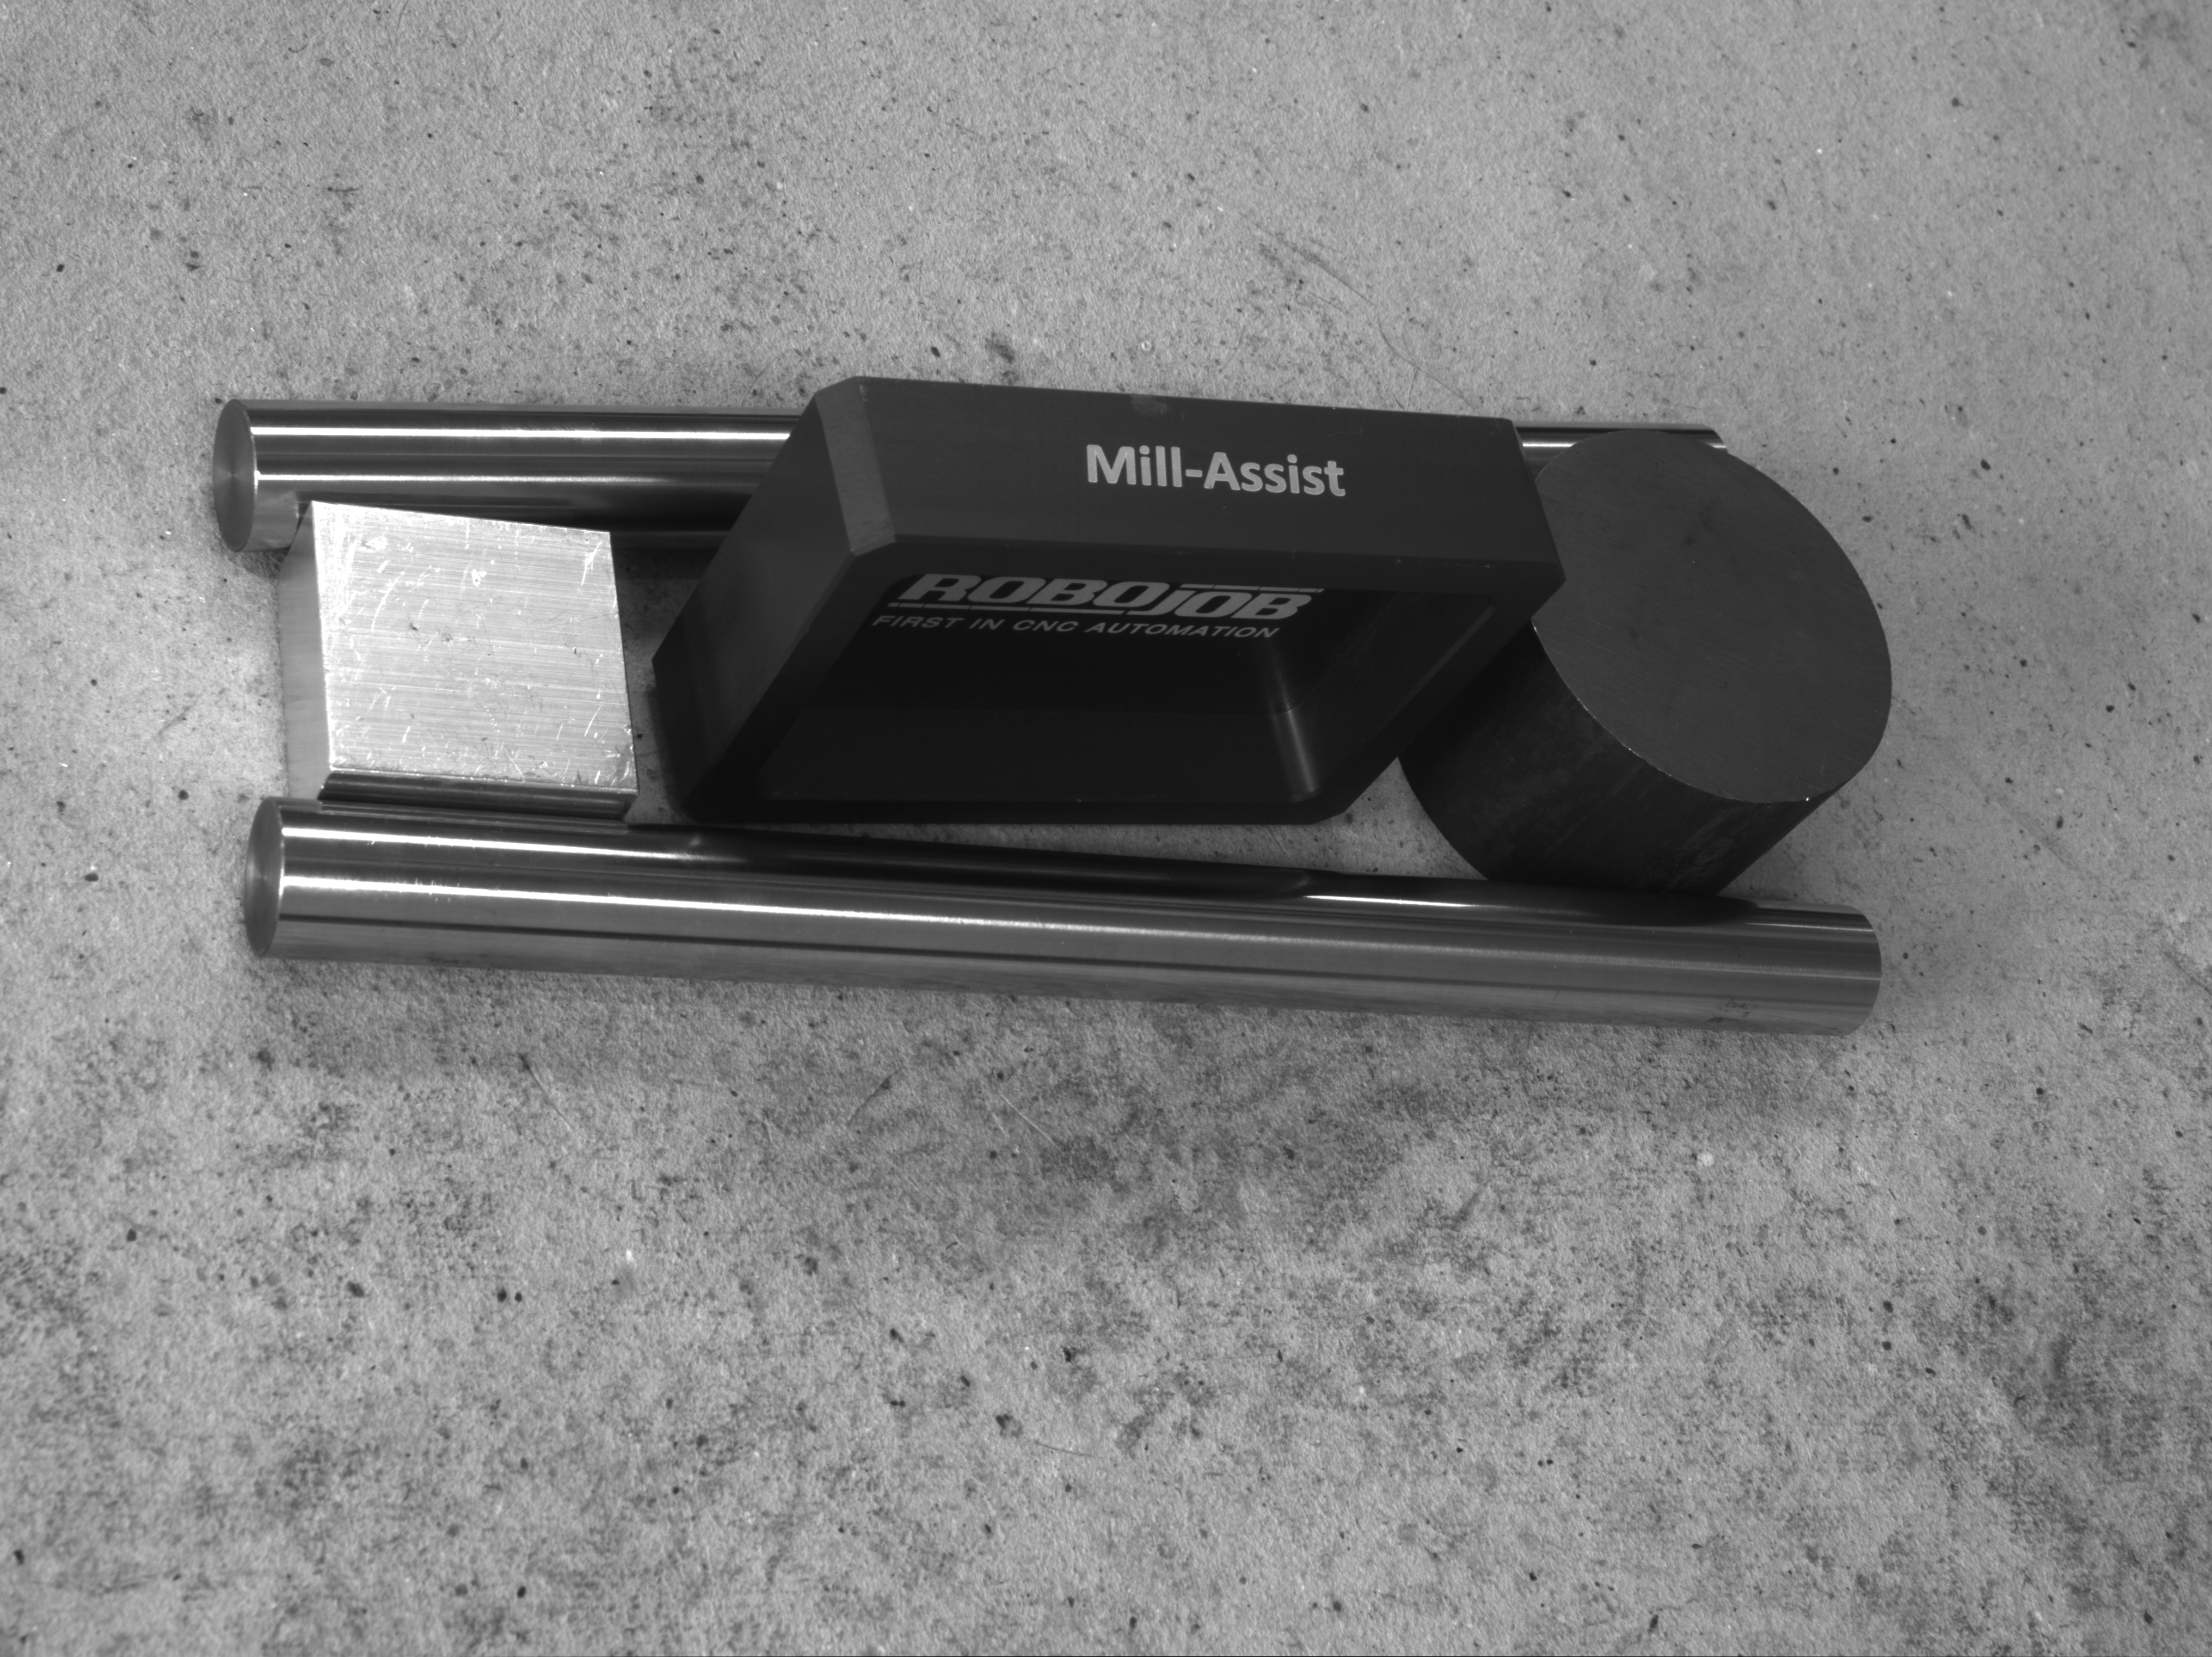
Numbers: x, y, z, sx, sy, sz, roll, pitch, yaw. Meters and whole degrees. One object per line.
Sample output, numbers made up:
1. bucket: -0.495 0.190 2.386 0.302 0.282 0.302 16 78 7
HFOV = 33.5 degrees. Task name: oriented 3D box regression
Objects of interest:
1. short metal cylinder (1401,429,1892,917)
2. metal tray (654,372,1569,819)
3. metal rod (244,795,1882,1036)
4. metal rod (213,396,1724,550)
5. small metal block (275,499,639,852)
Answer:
1. short metal cylinder: 0.100 -0.028 0.694 0.080 0.050 0.080 13 56 -21
2. metal tray: 0.000 -0.036 0.618 0.130 0.090 0.030 0 62 -28
3. metal rod: 0.005 0.017 0.632 0.301 0.025 0.025 4 60 -26
4. metal rod: -0.011 -0.064 0.673 0.301 0.025 0.025 -3 63 -29
5. small metal block: -0.106 -0.023 0.598 0.050 0.025 0.050 4 60 -26
